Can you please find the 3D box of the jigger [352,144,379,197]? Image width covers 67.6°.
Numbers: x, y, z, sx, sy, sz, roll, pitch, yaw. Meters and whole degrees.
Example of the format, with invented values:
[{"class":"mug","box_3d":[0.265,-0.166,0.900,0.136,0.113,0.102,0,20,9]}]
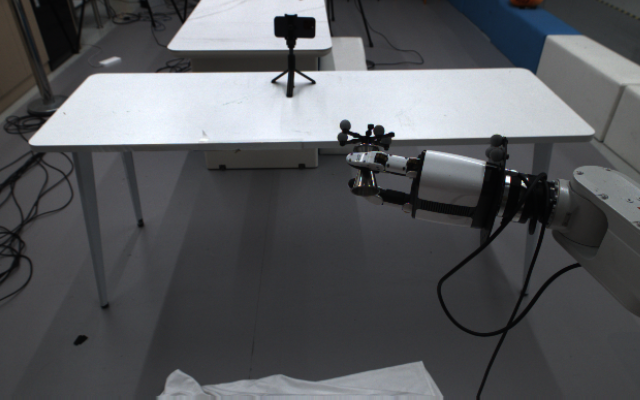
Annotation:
[{"class":"jigger","box_3d":[0.067,-0.046,0.719,0.043,0.043,0.071,3,72,1]}]
